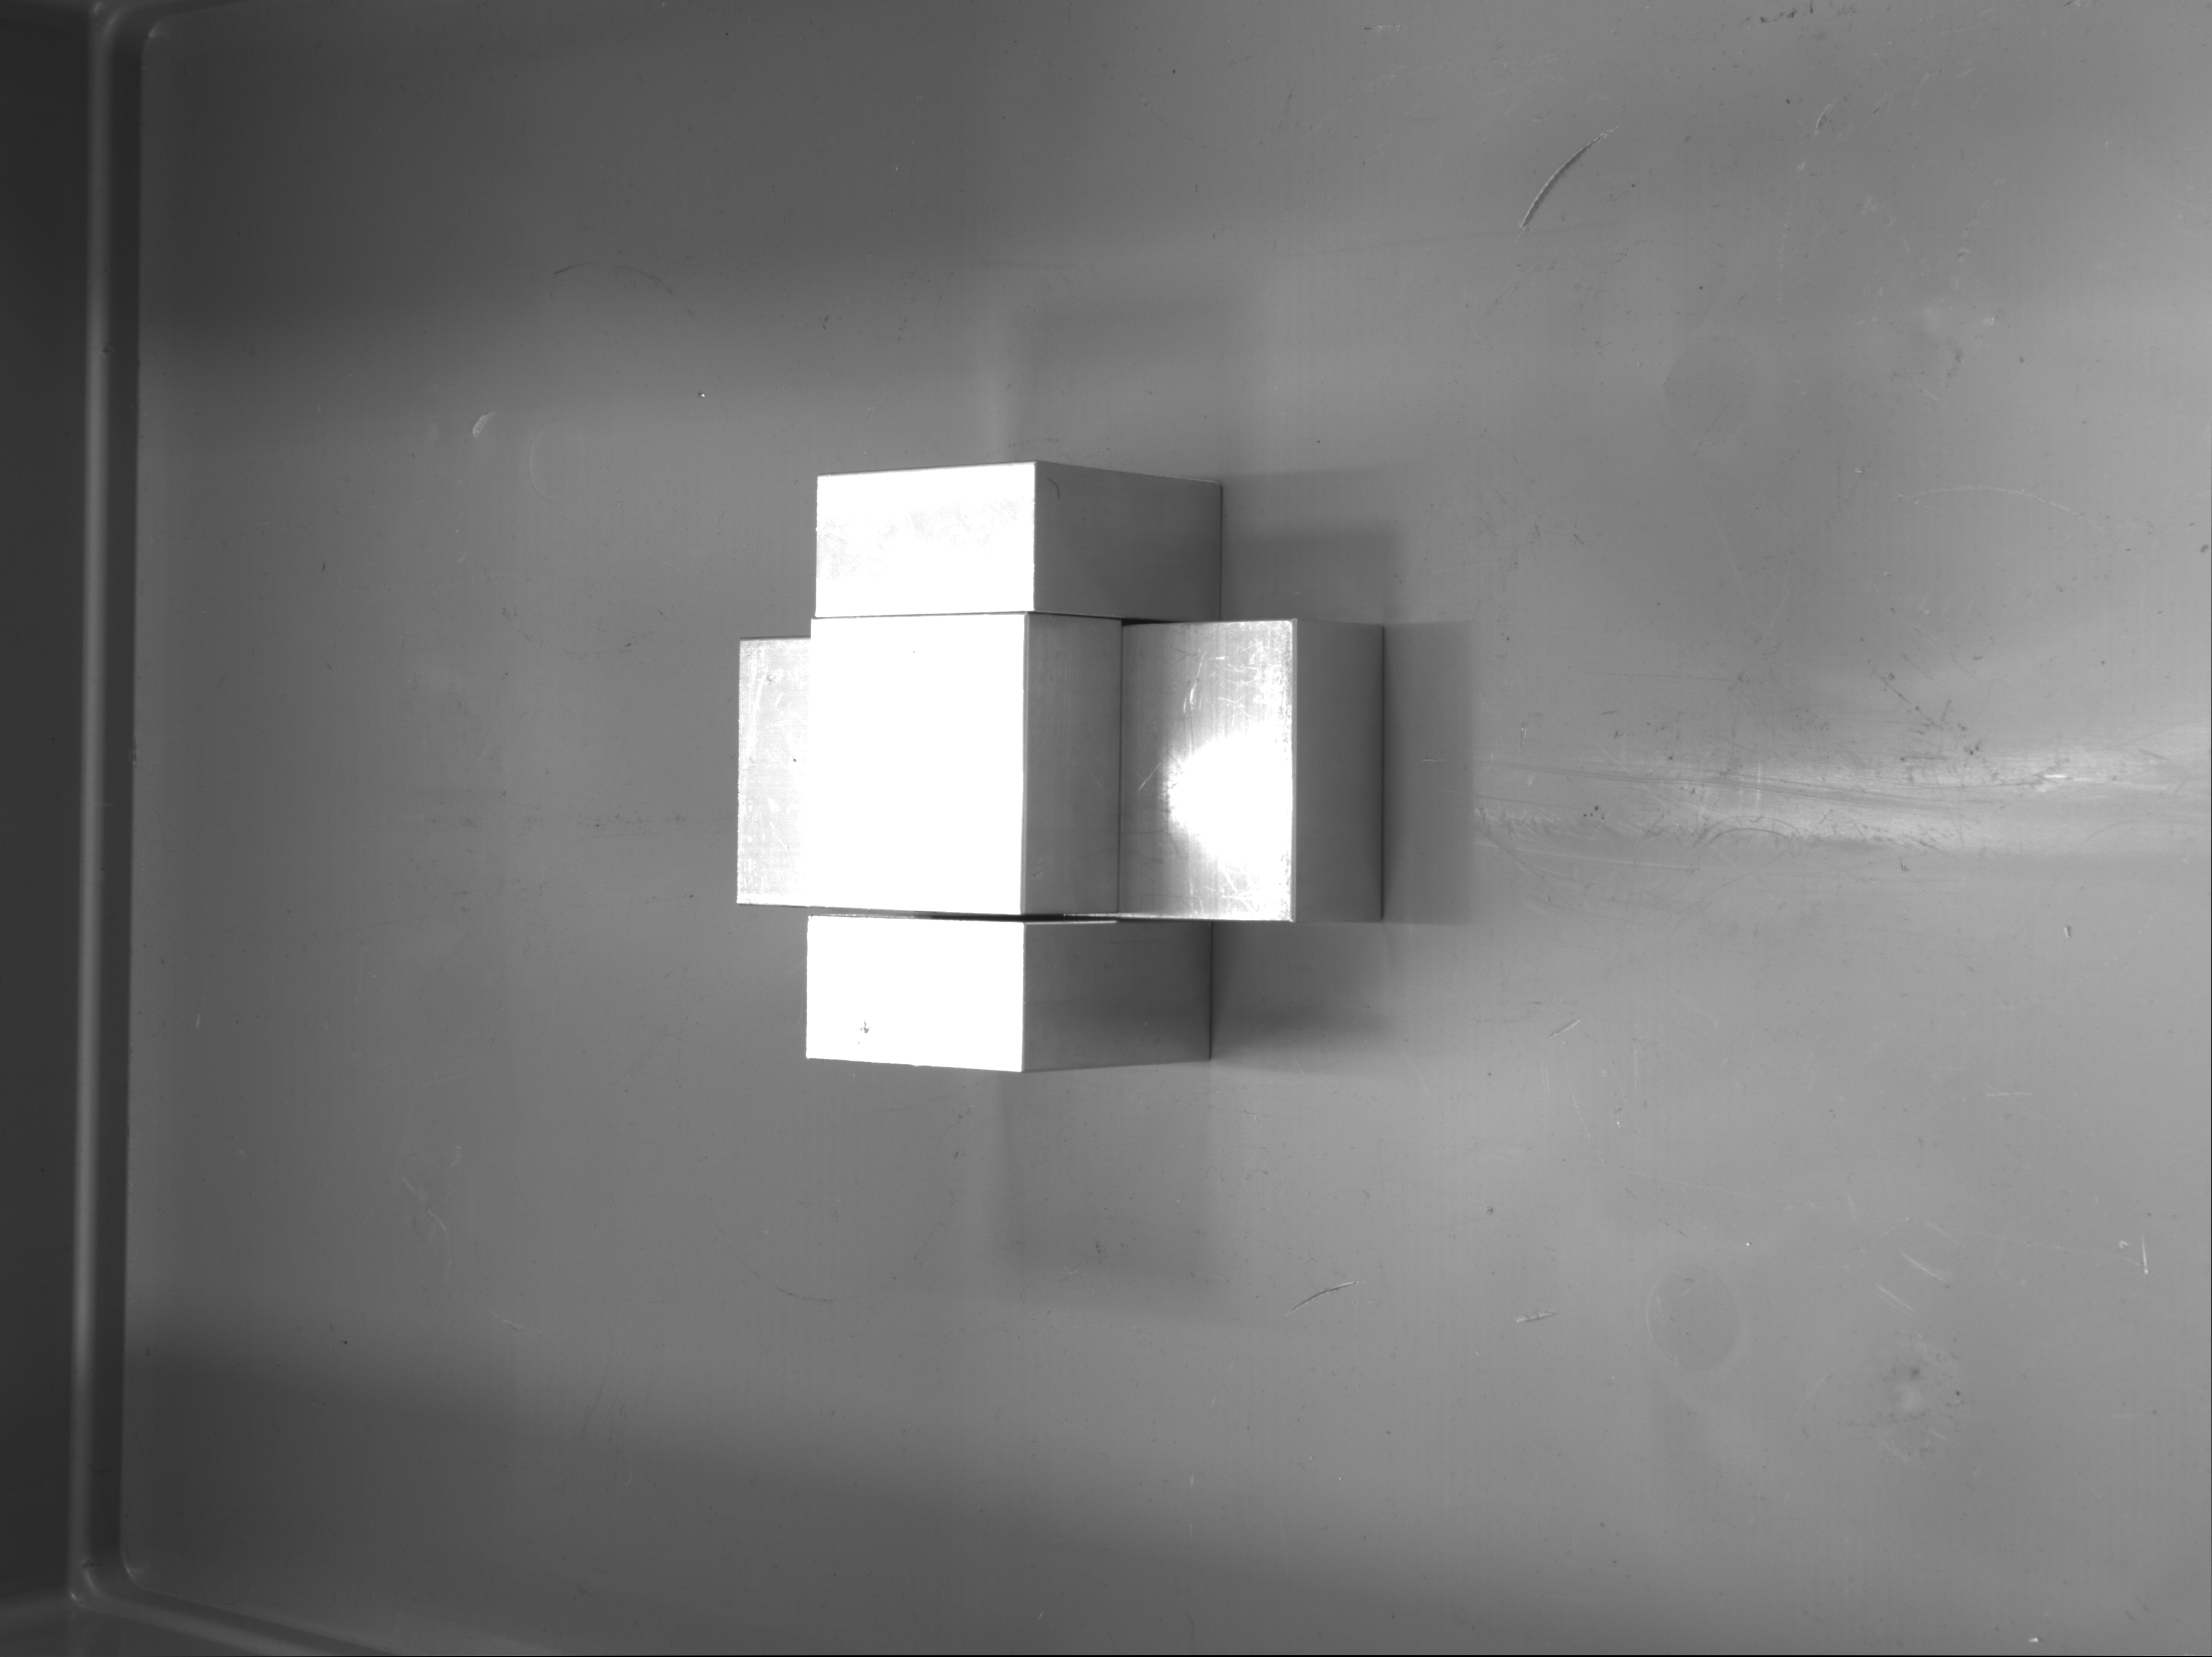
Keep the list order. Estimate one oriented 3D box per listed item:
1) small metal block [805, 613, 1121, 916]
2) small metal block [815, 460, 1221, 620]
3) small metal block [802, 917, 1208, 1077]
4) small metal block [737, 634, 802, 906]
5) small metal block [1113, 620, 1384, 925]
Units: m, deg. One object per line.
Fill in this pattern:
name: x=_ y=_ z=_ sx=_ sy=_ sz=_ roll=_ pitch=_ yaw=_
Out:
small metal block: x=-0.025 y=-0.011 z=0.630 sx=0.050 sy=0.025 sz=0.050 roll=1 pitch=90 yaw=40
small metal block: x=-0.015 y=-0.048 z=0.639 sx=0.050 sy=0.050 sz=0.025 roll=1 pitch=90 yaw=40
small metal block: x=-0.017 y=0.028 z=0.640 sx=0.050 sy=0.050 sz=0.025 roll=1 pitch=90 yaw=40
small metal block: x=-0.042 y=-0.011 z=0.678 sx=0.050 sy=0.025 sz=0.050 roll=1 pitch=90 yaw=40
small metal block: x=0.020 y=-0.010 z=0.627 sx=0.050 sy=0.025 sz=0.050 roll=1 pitch=90 yaw=40
